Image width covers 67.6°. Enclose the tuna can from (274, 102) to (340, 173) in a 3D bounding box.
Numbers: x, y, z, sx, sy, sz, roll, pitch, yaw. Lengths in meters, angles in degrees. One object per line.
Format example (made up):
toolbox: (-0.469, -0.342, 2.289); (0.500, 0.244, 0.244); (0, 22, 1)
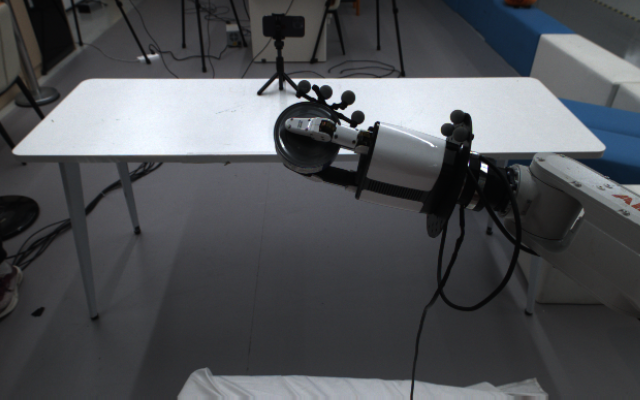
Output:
tuna can: (-0.015, -0.078, 0.609); (0.085, 0.034, 0.085); (1, 75, -4)
